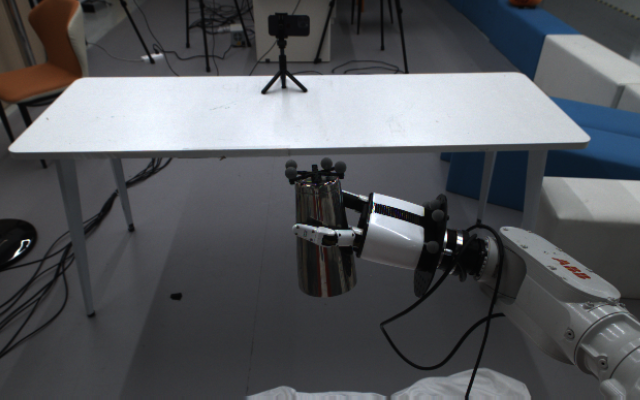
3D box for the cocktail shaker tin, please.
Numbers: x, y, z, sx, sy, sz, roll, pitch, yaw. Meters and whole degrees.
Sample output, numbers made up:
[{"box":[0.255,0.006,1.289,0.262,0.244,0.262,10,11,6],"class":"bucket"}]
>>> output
[{"box":[0.004,0.049,0.729,0.093,0.170,0.093,-6,19,2],"class":"cocktail shaker tin"}]
